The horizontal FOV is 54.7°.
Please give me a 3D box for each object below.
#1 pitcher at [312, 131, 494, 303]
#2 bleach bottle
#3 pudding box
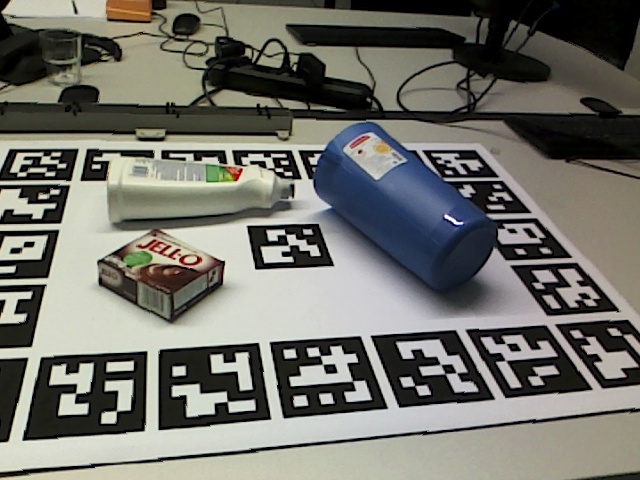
[{"bbox_3d":[0.114,-0.028,0.826,0.187,0.133,0.244,21,20,-51],"label":"pitcher"},{"bbox_3d":[-0.162,-0.071,0.865,0.250,0.068,0.103,-2,40,-16],"label":"bleach bottle"},{"bbox_3d":[-0.187,0.035,0.717,0.114,0.038,0.089,27,33,24],"label":"pudding box"}]
